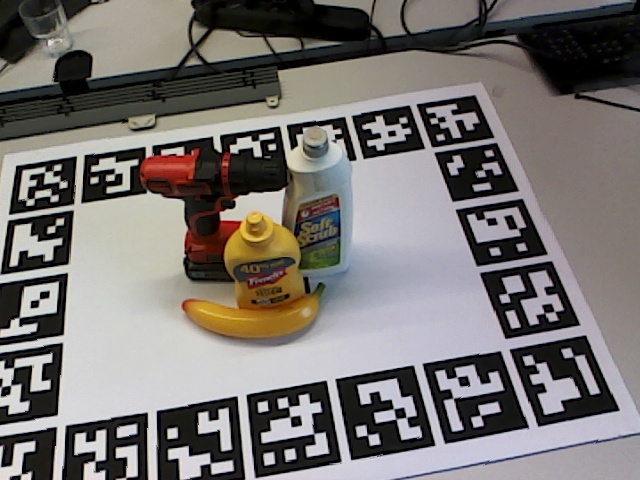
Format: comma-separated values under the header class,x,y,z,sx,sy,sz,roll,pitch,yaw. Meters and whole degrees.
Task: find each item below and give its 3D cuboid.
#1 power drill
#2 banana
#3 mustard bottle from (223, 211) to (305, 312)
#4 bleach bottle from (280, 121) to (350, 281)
class,x,y,z,sx,sy,sz,roll,pitch,yaw
power drill,-0.124,-0.037,0.804,0.184,0.186,0.057,2,55,3
banana,-0.083,0.100,0.836,0.197,0.039,0.074,-6,57,2
mustard bottle,-0.072,0.026,0.783,0.096,0.191,0.058,-9,56,-3
bleach bottle,-0.013,-0.046,0.798,0.102,0.250,0.068,-7,51,-1
